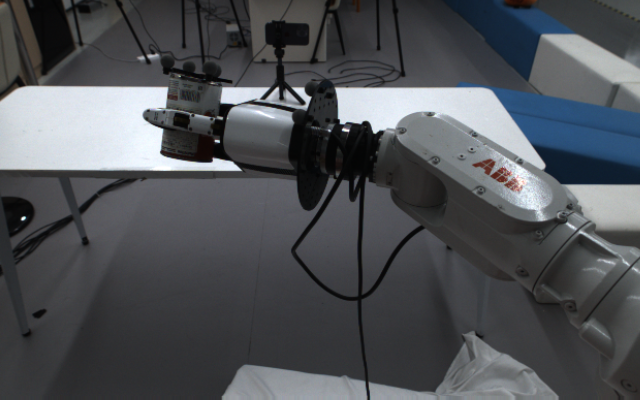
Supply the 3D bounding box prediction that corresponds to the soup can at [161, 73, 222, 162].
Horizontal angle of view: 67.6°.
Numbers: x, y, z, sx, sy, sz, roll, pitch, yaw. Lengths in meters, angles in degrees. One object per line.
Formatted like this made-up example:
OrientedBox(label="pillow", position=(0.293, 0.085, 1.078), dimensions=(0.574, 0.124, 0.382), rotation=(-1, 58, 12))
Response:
OrientedBox(label="soup can", position=(-0.166, -0.103, 0.625), dimensions=(0.067, 0.101, 0.067), rotation=(10, 9, -2))
